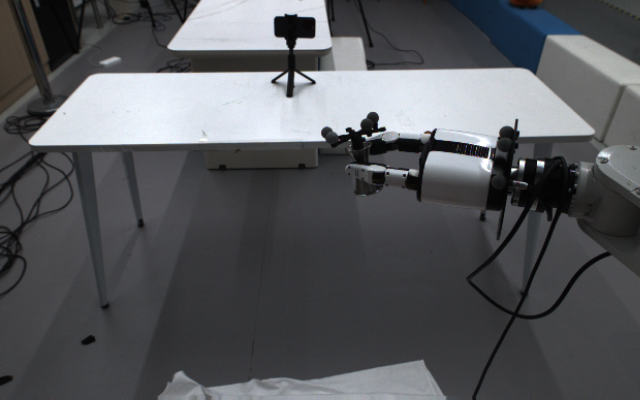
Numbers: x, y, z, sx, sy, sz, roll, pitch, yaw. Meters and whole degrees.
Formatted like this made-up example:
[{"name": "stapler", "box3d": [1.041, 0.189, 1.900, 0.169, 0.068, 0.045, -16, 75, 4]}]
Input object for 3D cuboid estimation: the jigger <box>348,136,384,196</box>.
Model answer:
[{"name": "jigger", "box3d": [0.063, -0.045, 0.695, 0.043, 0.071, 0.043, -14, 21, 6]}]
